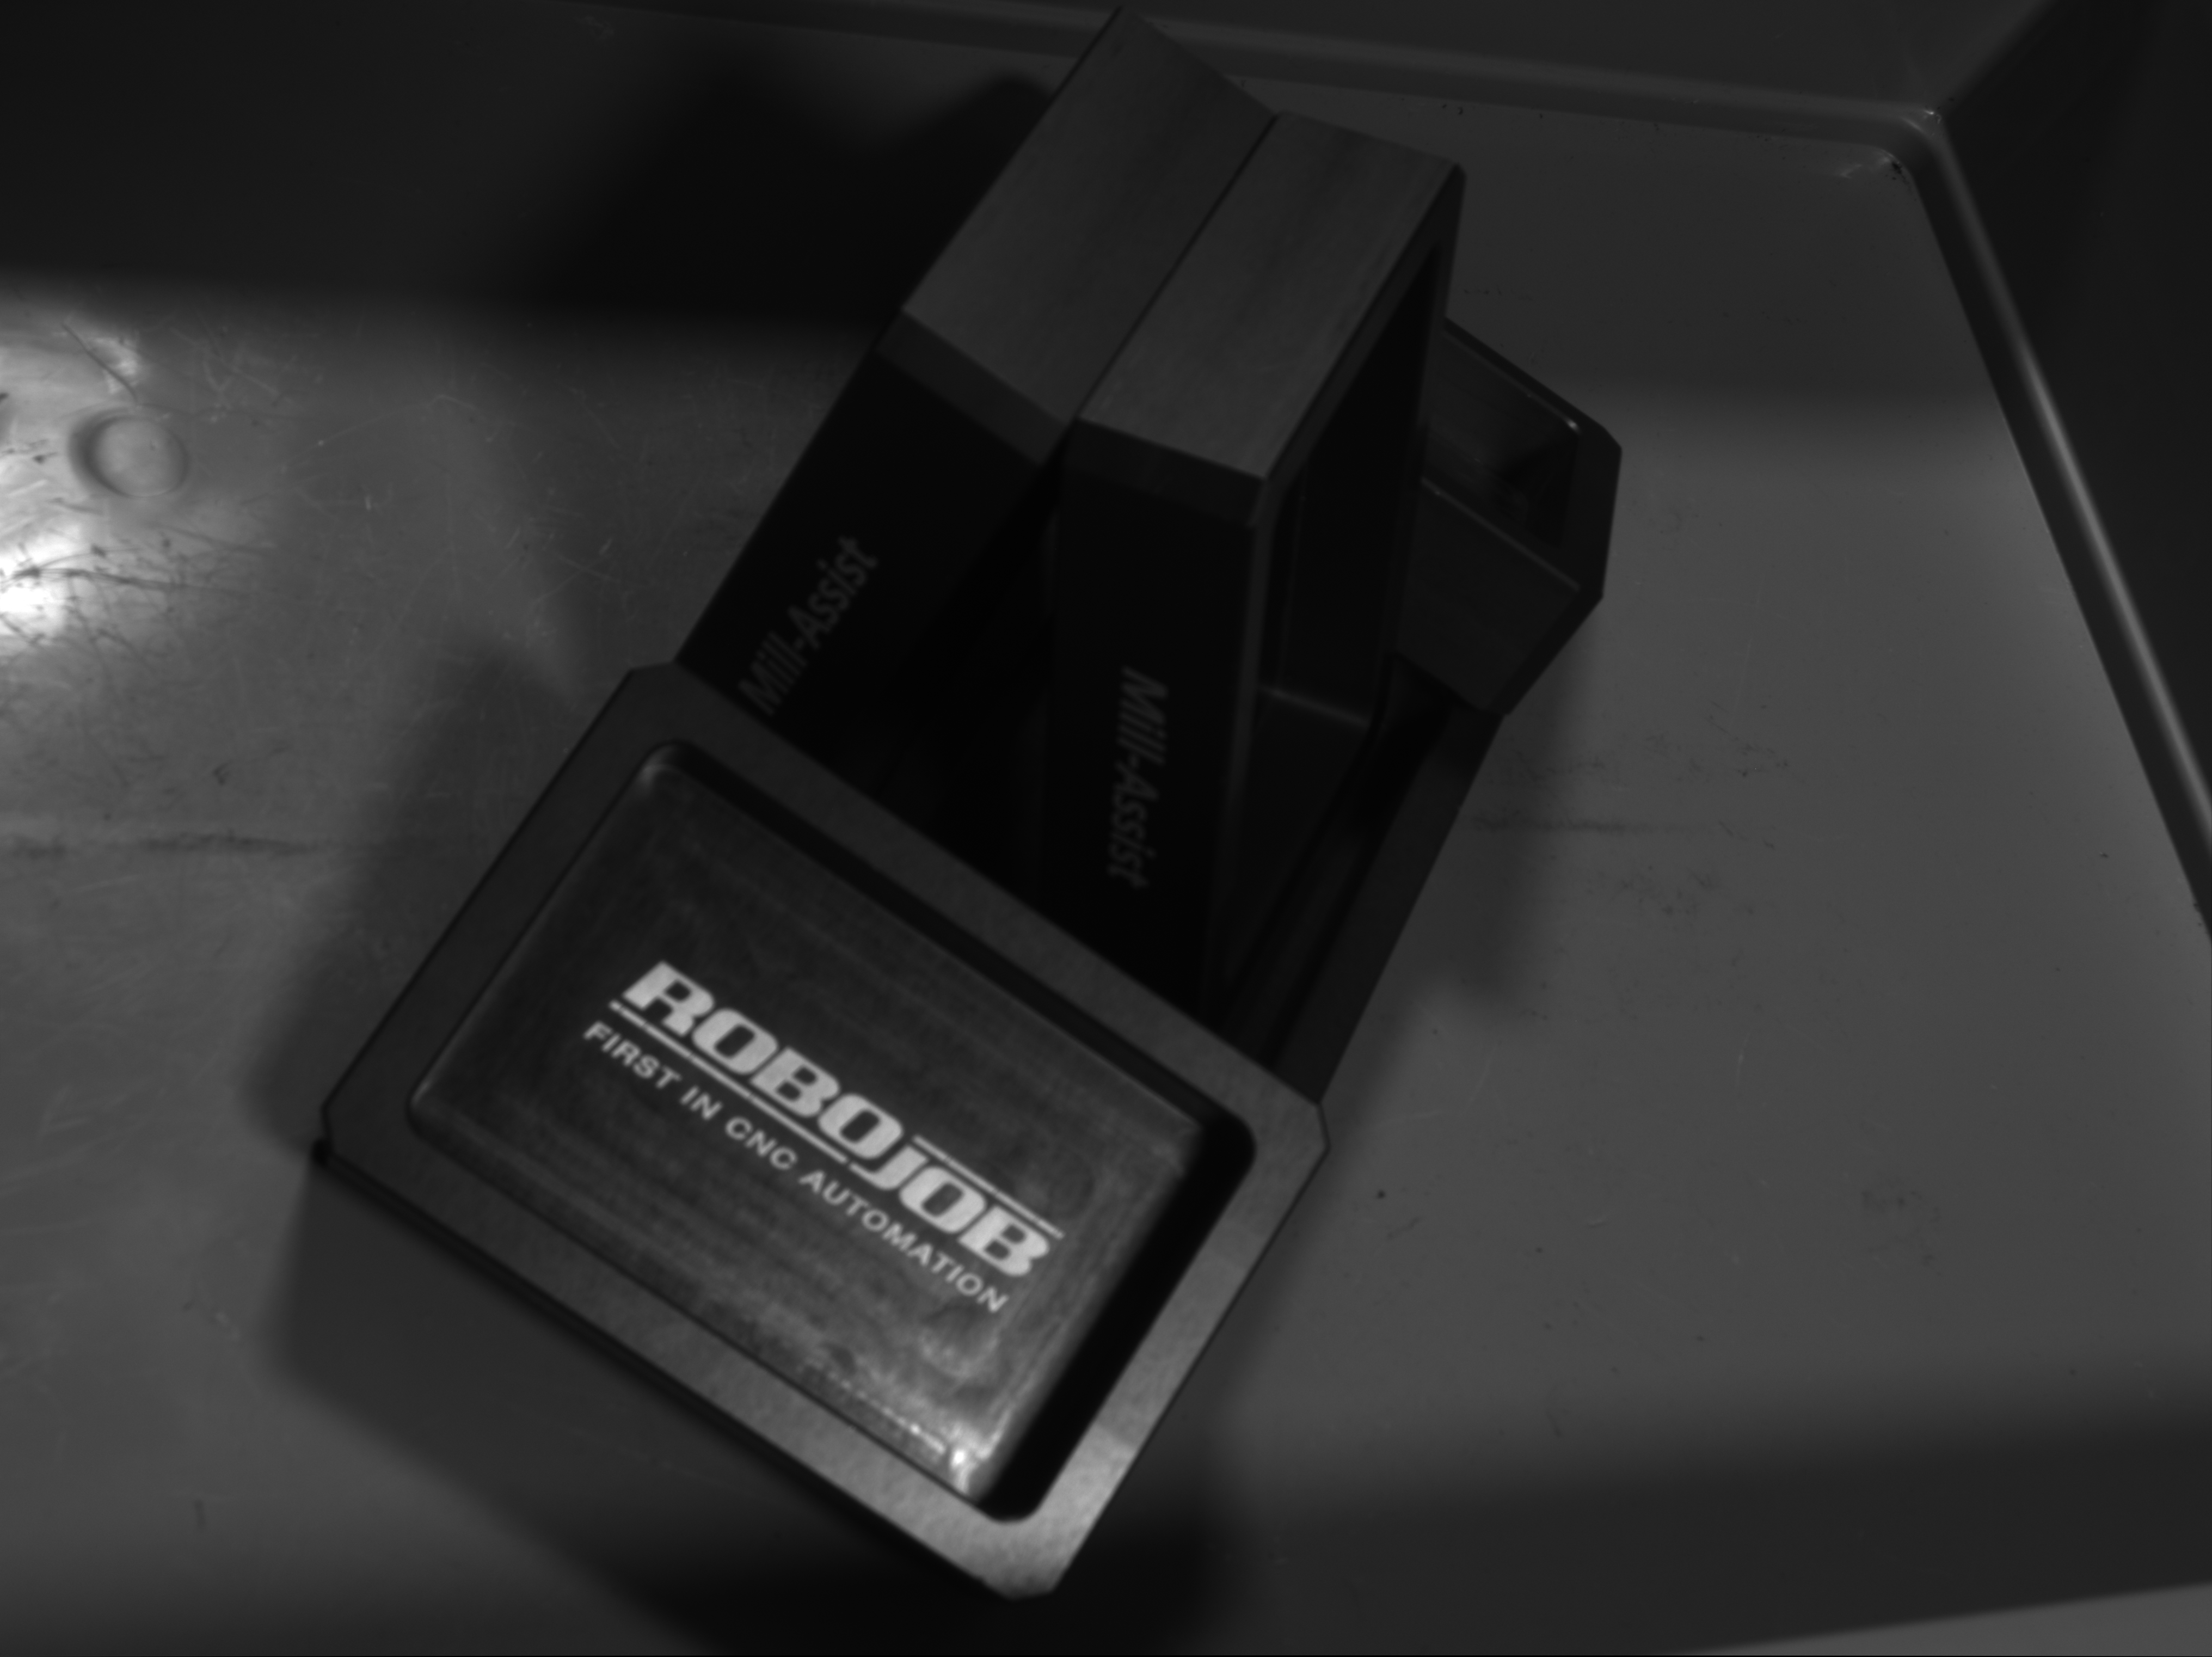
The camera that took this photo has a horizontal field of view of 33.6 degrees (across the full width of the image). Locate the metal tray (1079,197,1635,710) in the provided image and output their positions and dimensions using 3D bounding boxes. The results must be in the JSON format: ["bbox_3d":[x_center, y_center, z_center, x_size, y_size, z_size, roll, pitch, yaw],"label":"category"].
[{"bbox_3d":[0.036,-0.084,0.684,0.130,0.030,0.090,34,26,-6],"label":"metal tray"}]

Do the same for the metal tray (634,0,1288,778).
[{"bbox_3d":[-0.025,-0.062,0.594,0.030,0.130,0.090,34,51,-4],"label":"metal tray"}]

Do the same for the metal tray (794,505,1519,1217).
[{"bbox_3d":[0.011,0.001,0.640,0.090,0.030,0.130,34,51,-6],"label":"metal tray"}]

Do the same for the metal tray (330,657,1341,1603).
[{"bbox_3d":[-0.041,0.047,0.562,0.130,0.030,0.090,35,75,-6],"label":"metal tray"}]

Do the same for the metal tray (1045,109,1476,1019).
[{"bbox_3d":[0.023,-0.037,0.591,0.030,0.130,0.090,20,50,13],"label":"metal tray"}]
